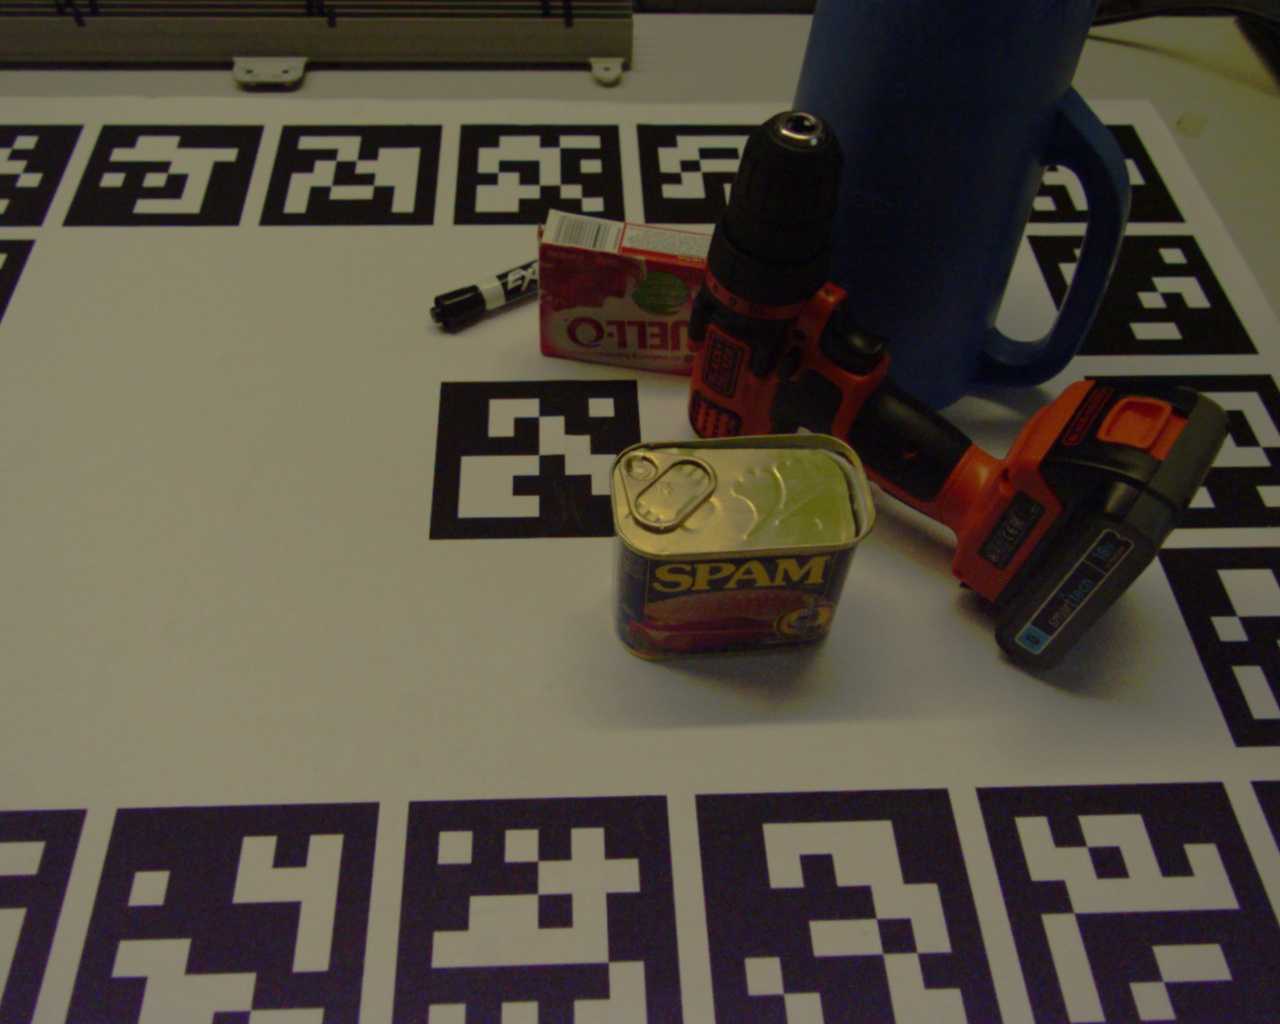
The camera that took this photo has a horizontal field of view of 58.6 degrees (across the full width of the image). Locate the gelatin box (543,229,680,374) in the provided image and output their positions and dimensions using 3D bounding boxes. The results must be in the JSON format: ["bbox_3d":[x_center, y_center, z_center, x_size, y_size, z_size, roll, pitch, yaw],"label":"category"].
[{"bbox_3d":[-0.007,-0.110,0.614,0.089,0.073,0.030,11,58,3],"label":"gelatin box"}]

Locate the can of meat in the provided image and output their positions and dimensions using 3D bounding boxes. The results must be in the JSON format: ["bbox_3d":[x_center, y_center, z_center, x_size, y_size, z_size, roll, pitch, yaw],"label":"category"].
[{"bbox_3d":[0.025,0.018,0.511,0.102,0.083,0.058,0,52,-3],"label":"can of meat"}]

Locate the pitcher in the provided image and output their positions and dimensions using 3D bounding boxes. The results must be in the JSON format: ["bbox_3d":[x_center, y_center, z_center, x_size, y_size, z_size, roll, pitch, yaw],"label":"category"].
[{"bbox_3d":[0.141,-0.157,0.558,0.191,0.241,0.132,25,59,22],"label":"pitcher"}]

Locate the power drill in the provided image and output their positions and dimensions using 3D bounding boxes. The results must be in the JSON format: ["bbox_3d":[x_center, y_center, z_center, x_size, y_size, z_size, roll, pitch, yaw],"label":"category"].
[{"bbox_3d":[0.094,-0.061,0.514,0.188,0.184,0.057,33,61,13],"label":"power drill"}]

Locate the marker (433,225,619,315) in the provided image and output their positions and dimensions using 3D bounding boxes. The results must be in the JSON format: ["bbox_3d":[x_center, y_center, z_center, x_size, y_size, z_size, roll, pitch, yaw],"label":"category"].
[{"bbox_3d":[-0.063,-0.141,0.664,0.120,0.019,0.020,-22,59,-16],"label":"marker"}]
